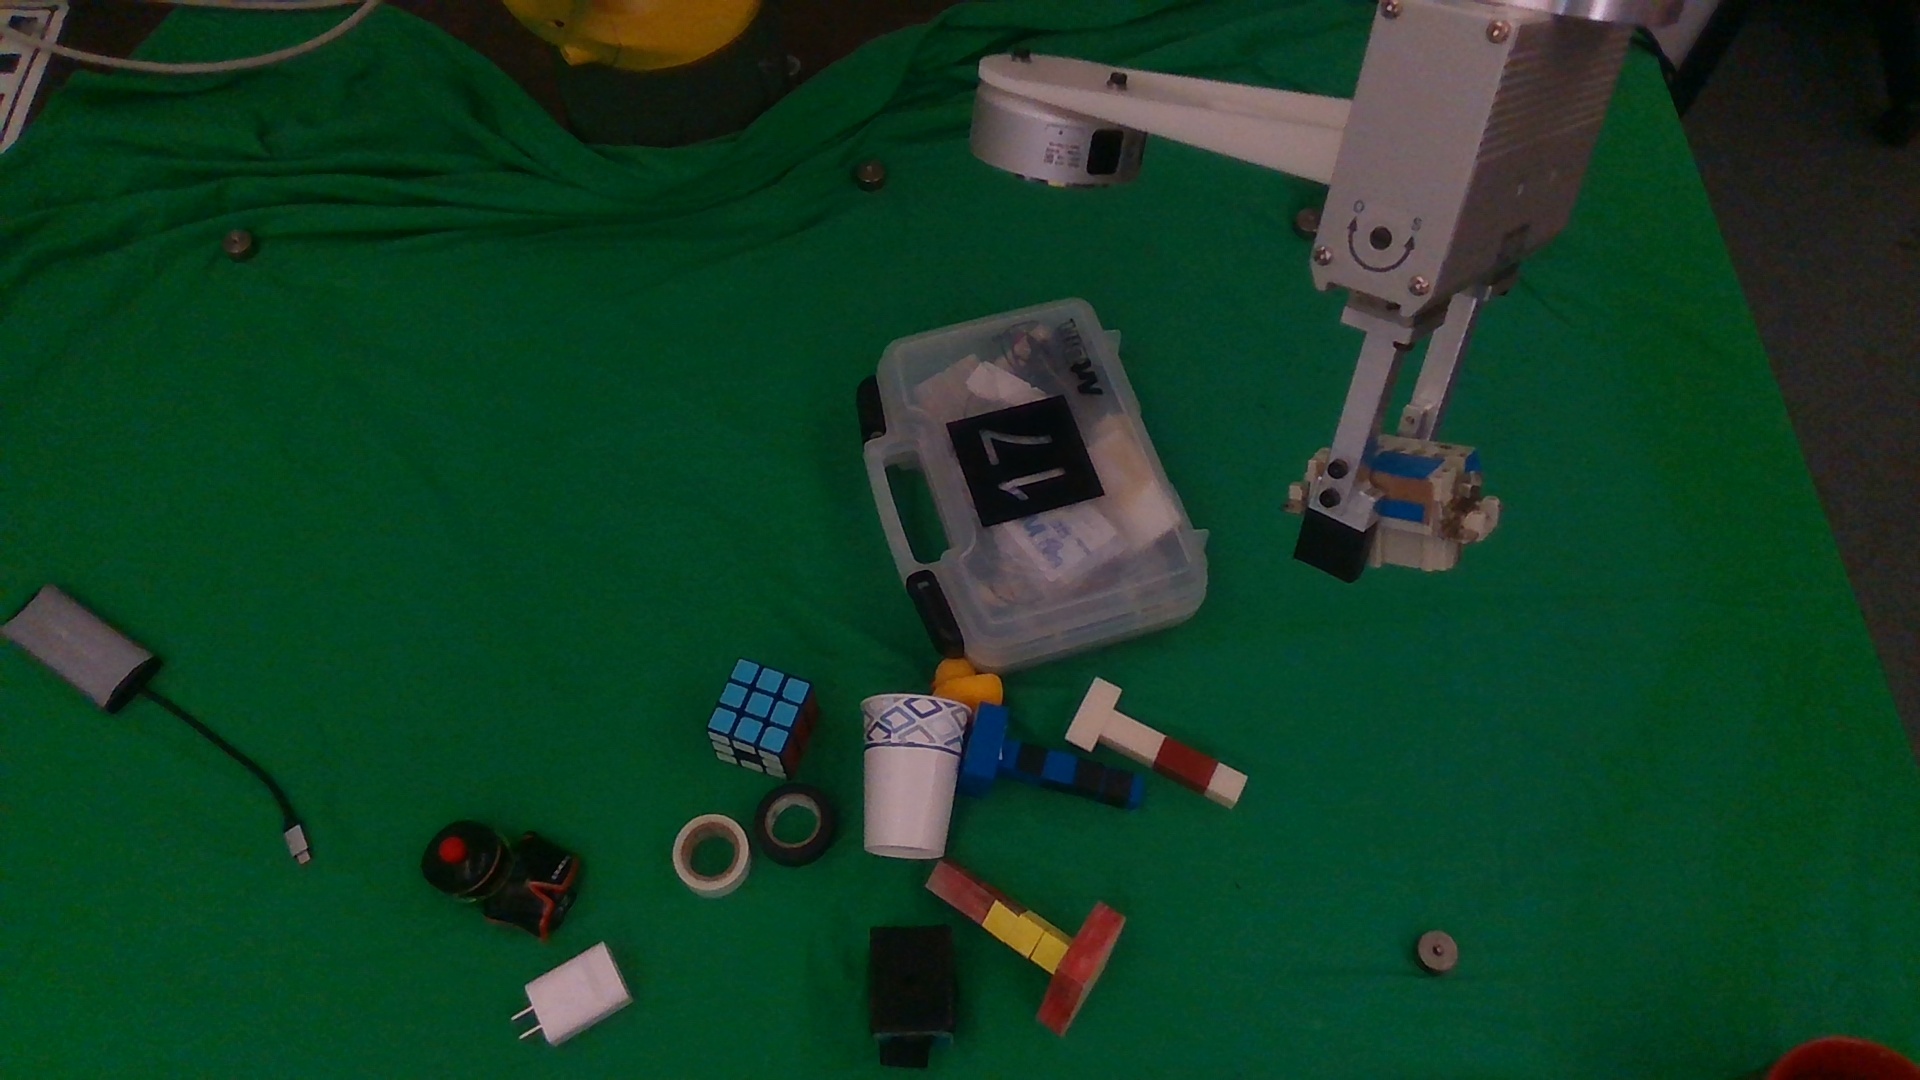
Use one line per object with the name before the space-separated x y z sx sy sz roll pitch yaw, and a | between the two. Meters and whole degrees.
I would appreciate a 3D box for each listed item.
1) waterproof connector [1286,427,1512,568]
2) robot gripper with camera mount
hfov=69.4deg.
waterproof connector | 0.143 -0.013 0.453 0.065 0.037 0.034 12 27 36
robot gripper with camera mount | 0.085 -0.091 0.466 0.194 0.158 0.118 22 30 33
